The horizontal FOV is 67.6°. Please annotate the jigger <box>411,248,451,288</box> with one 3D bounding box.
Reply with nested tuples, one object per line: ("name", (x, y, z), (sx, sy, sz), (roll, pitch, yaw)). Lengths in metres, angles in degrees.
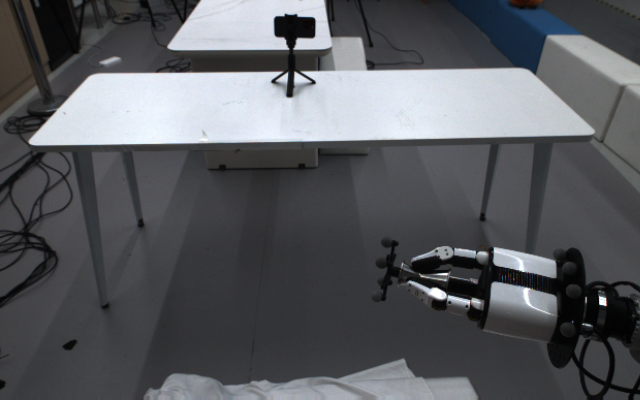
("jigger", (0.154, 0.109, 0.690), (0.071, 0.043, 0.043), (11, 36, 16))
